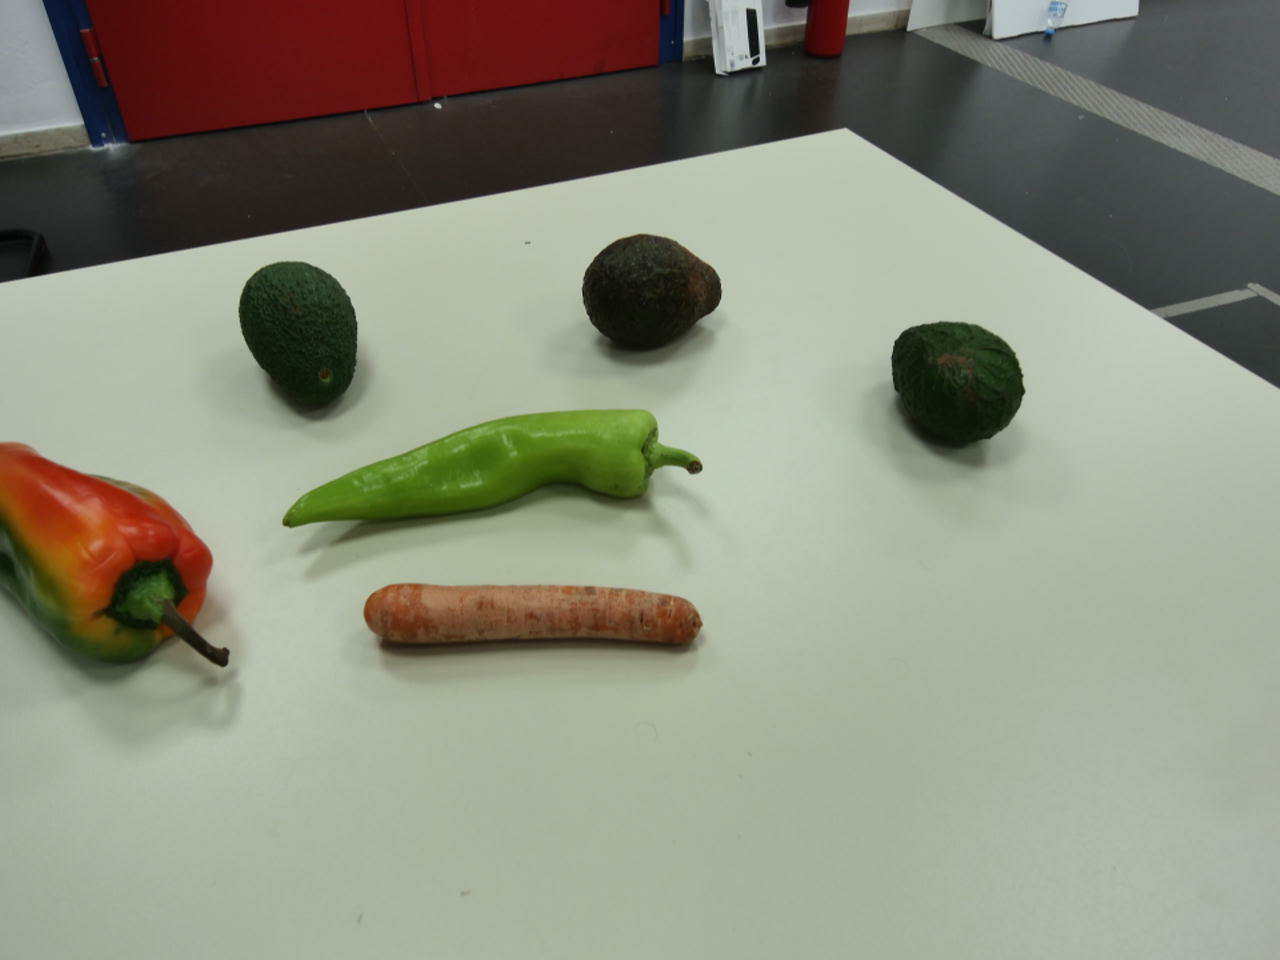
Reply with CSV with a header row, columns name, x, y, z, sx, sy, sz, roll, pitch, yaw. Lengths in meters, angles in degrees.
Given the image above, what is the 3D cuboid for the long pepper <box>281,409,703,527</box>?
name,x,y,z,sx,sy,sz,roll,pitch,yaw
long pepper,-0.073,-0.007,0.510,0.204,0.045,0.065,-5,39,-8
